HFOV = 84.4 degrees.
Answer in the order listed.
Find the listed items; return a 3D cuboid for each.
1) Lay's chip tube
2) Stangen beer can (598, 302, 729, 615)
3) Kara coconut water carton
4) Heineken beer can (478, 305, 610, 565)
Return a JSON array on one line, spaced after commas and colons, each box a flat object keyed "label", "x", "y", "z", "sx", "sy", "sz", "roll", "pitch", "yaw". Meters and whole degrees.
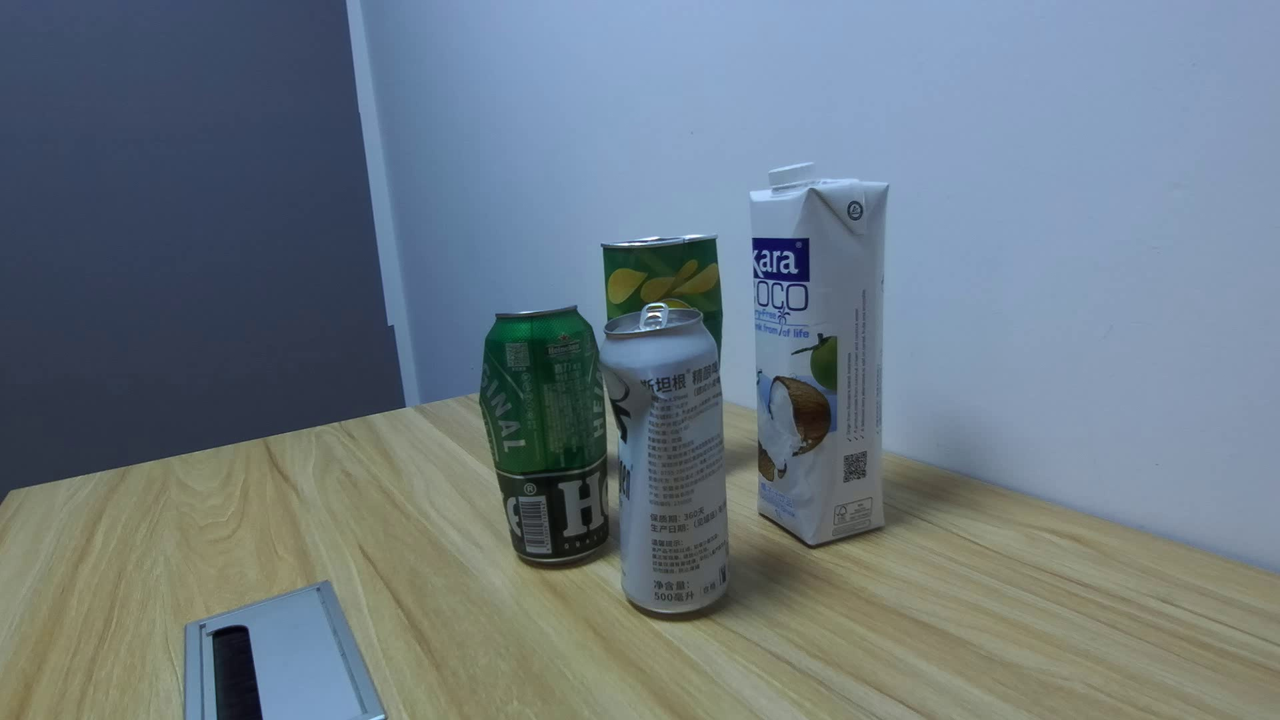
[{"label": "Lay's chip tube", "x": 0.024, "y": -0.001, "z": 0.584, "sx": 0.075, "sy": 0.199, "sz": 0.068, "roll": -15, "pitch": 19, "yaw": -36}, {"label": "Stangen beer can", "x": 0.014, "y": 0.057, "z": 0.405, "sx": 0.069, "sy": 0.173, "sz": 0.070, "roll": 2, "pitch": 13, "yaw": 26}, {"label": "Kara coconut water carton", "x": 0.118, "y": -0.005, "z": 0.475, "sx": 0.075, "sy": 0.245, "sz": 0.076, "roll": -8, "pitch": 13, "yaw": -23}, {"label": "Heineken beer can", "x": -0.060, "y": 0.050, "z": 0.477, "sx": 0.068, "sy": 0.168, "sz": 0.069, "roll": -1, "pitch": 9, "yaw": 33}]
